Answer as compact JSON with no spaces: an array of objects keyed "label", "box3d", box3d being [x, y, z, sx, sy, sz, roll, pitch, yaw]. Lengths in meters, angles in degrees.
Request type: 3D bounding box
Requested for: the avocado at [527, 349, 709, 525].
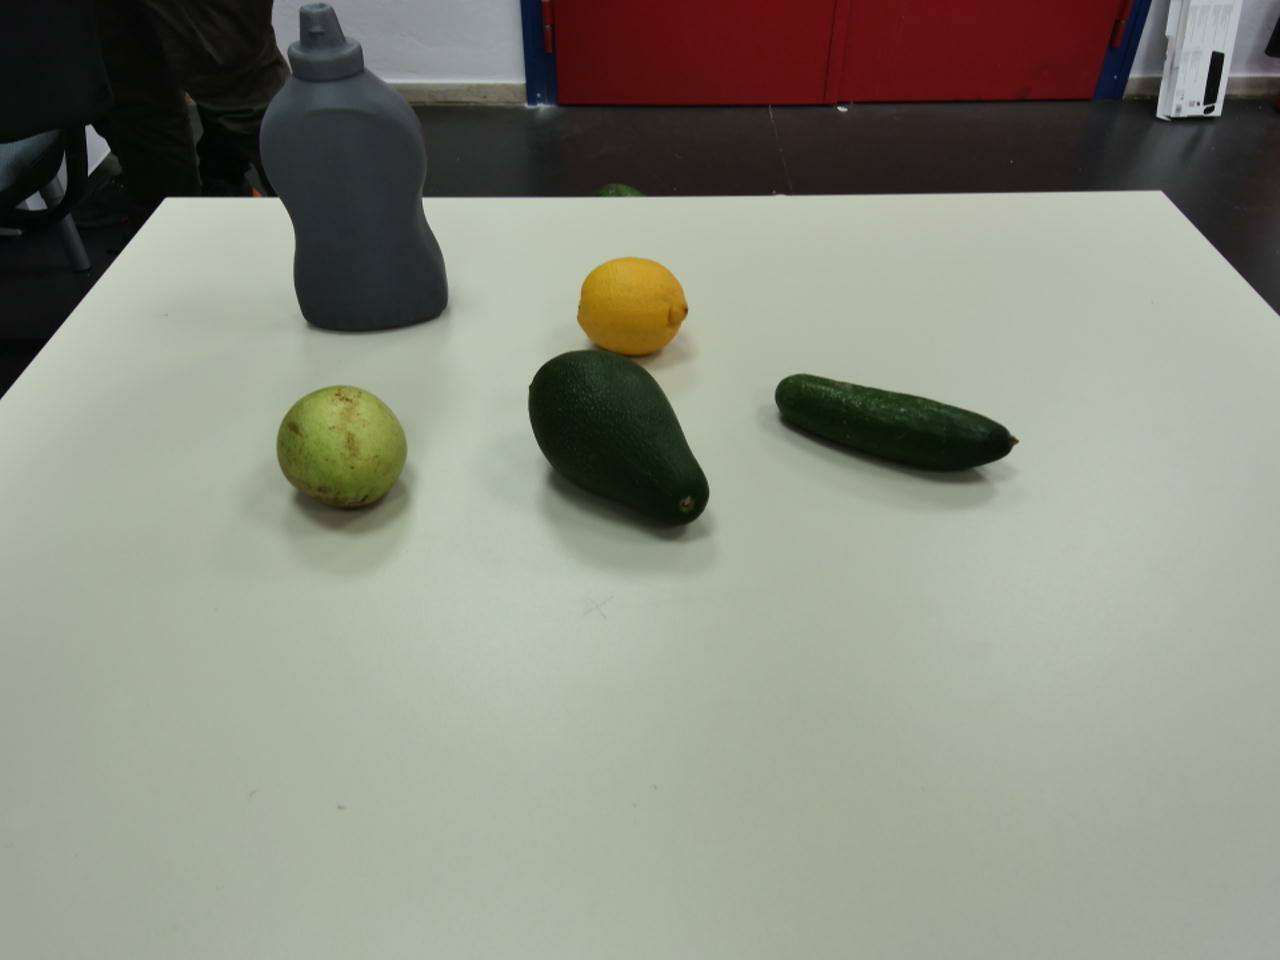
[{"label":"avocado","box3d":[-0.014,-0.023,0.516,0.072,0.071,0.109,-16,41,-18]}]
